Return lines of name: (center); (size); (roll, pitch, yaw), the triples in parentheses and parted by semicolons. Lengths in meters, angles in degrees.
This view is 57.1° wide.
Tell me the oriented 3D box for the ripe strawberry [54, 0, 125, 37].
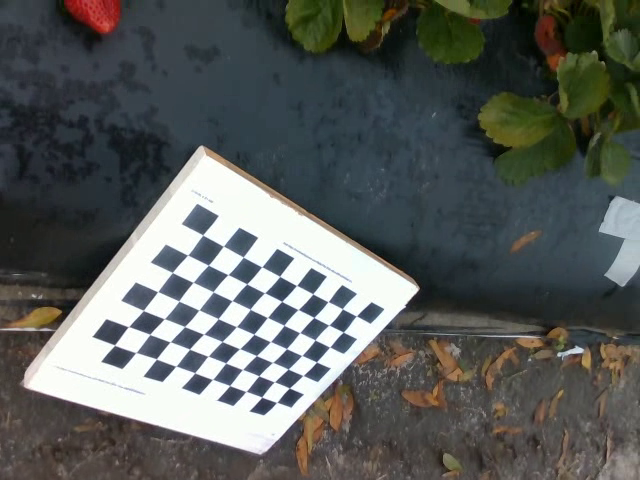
ripe strawberry: (-0.167, -0.175, 0.438); (0.045, 0.054, 0.048); (-17, -10, -9)
